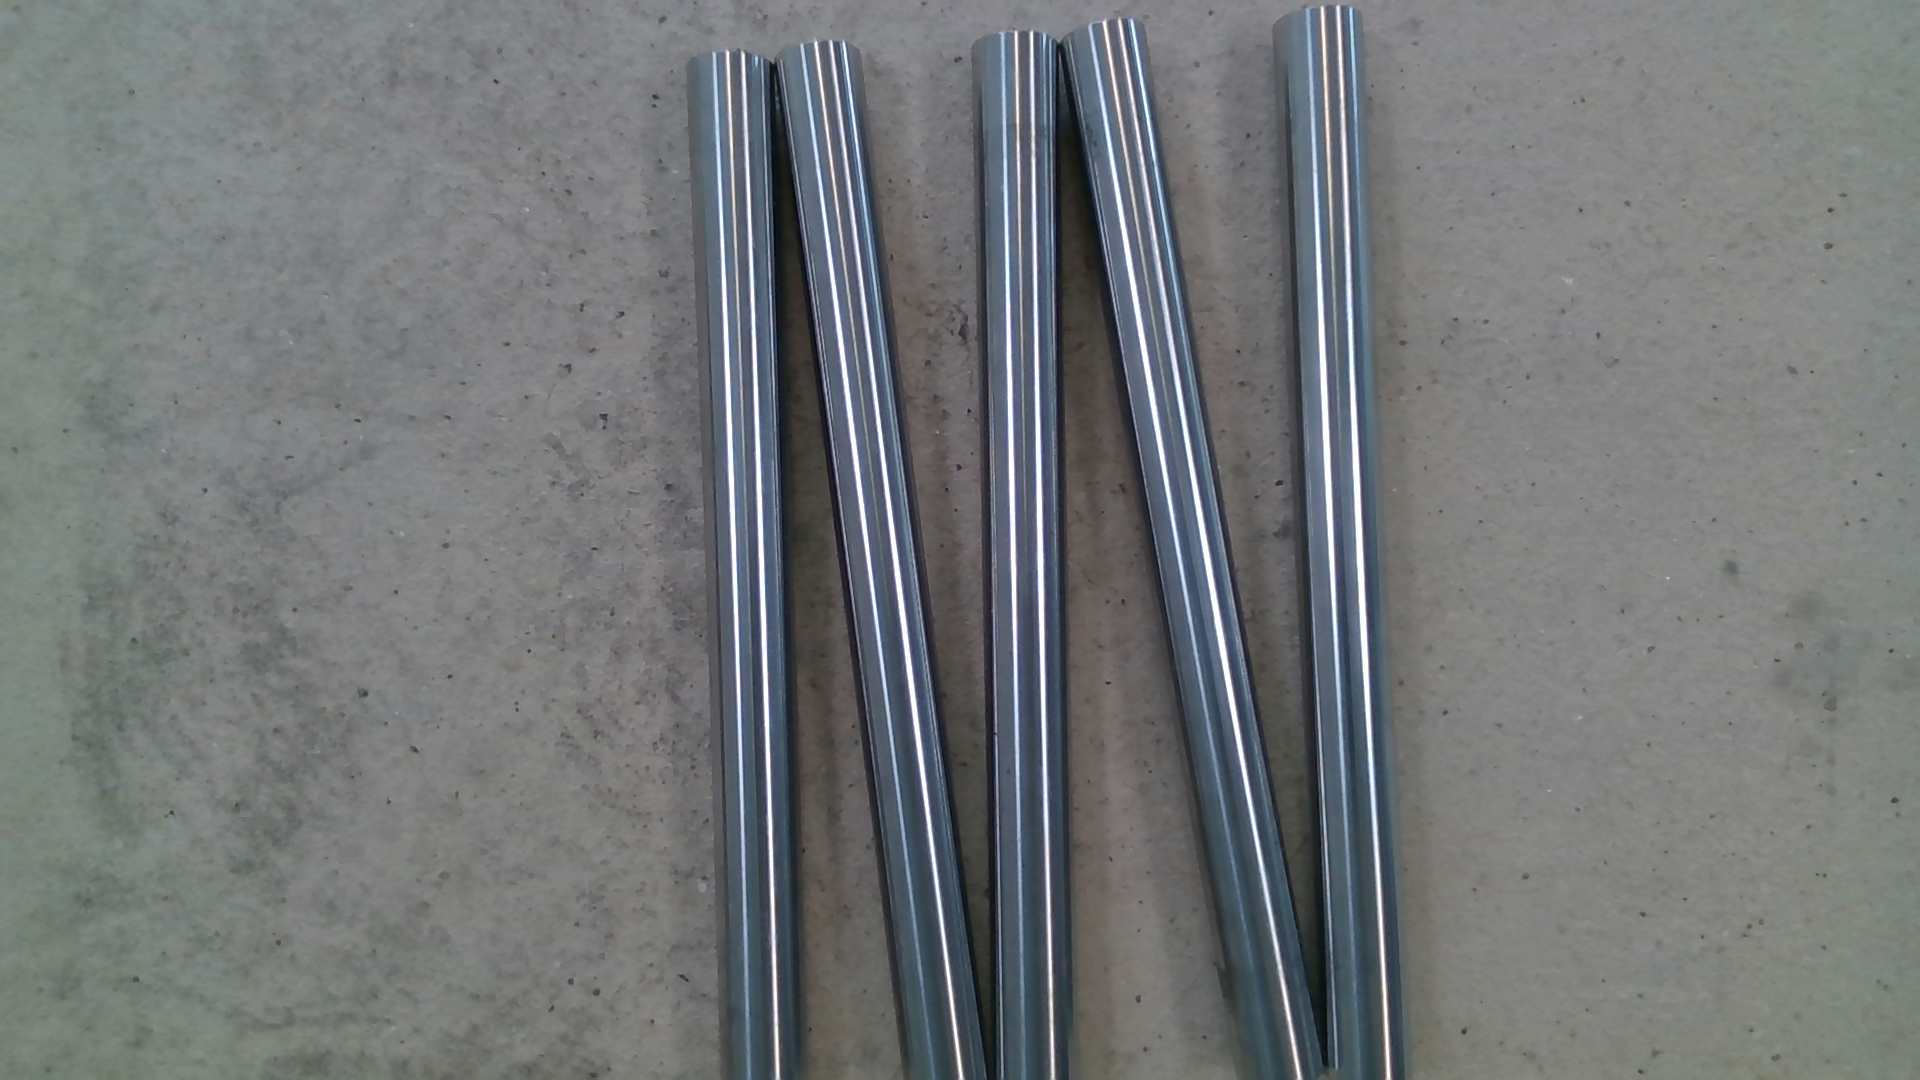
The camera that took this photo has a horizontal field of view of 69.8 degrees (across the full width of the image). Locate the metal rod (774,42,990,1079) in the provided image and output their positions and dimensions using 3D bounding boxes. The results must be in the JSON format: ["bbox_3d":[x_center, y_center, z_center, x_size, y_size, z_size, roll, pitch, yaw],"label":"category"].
[{"bbox_3d":[-0.022,0.011,0.396,0.025,0.025,0.300,-7,90,0],"label":"metal rod"}]

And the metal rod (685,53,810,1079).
[{"bbox_3d":[-0.061,0.015,0.396,0.025,0.025,0.300,-2,90,0],"label":"metal rod"}]

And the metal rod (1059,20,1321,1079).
[{"bbox_3d":[0.066,0.004,0.396,0.025,0.025,0.300,-10,90,0],"label":"metal rod"}]

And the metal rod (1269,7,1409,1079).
[{"bbox_3d":[0.109,0.002,0.396,0.025,0.025,0.300,-3,90,0],"label":"metal rod"}]

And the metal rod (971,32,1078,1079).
[{"bbox_3d":[0.019,0.009,0.395,0.025,0.025,0.300,-1,90,0],"label":"metal rod"}]
